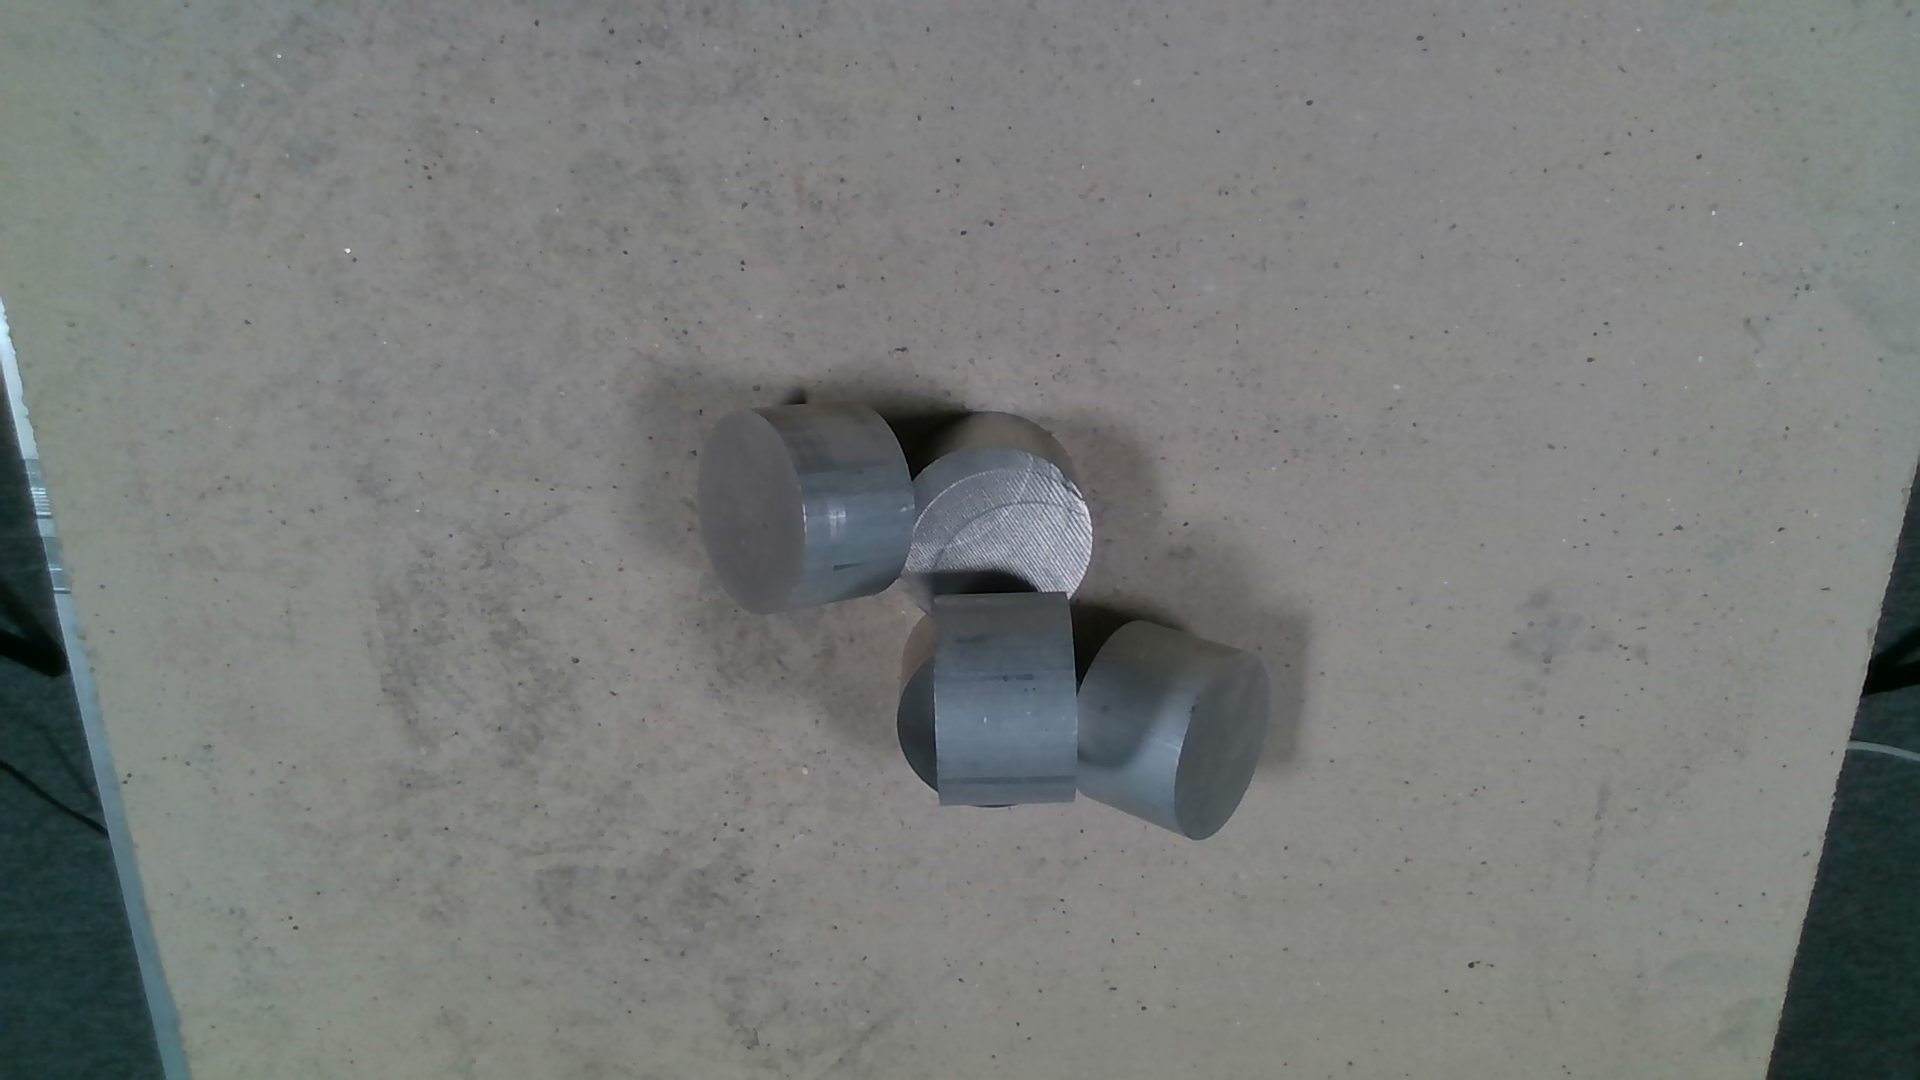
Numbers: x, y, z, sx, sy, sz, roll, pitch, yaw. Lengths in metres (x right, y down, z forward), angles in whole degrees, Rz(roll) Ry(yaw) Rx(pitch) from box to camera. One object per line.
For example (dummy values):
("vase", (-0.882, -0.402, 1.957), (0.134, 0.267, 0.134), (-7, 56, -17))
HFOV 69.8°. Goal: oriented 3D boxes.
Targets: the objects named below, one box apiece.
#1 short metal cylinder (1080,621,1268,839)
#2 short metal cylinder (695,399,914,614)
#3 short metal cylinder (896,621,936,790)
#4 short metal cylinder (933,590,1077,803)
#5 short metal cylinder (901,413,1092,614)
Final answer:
("short metal cylinder", (0.088, 0.078, 0.577), (0.050, 0.080, 0.080), (16, 115, 35))
("short metal cylinder", (-0.062, -0.014, 0.543), (0.050, 0.080, 0.080), (-9, 116, -39))
("short metal cylinder", (0.013, 0.067, 0.596), (0.080, 0.050, 0.080), (0, 110, 0))
("short metal cylinder", (0.016, 0.060, 0.524), (0.050, 0.080, 0.080), (-1, 110, 1))
("short metal cylinder", (0.012, -0.008, 0.568), (0.080, 0.050, 0.080), (0, 110, 0))
